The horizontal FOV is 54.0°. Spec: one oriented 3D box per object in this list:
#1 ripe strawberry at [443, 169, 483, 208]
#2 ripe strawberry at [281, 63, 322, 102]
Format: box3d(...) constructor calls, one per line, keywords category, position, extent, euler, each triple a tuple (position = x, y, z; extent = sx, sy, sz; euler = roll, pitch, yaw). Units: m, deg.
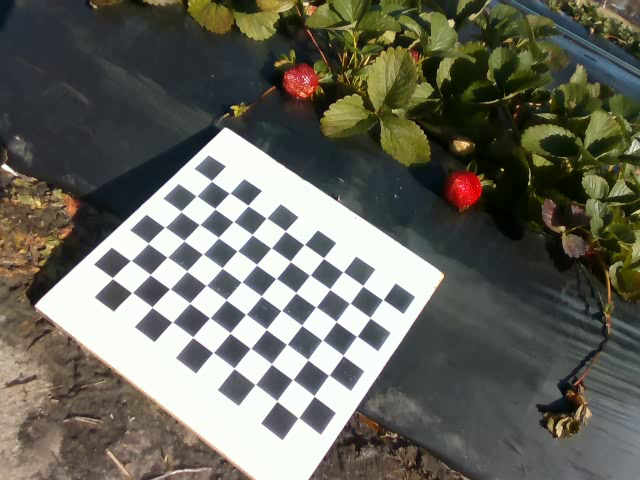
box3d(category="ripe strawberry", position=(0.138, -0.051, 0.617), extent=(0.043, 0.043, 0.050), euler=(-30, -22, 23))
box3d(category="ripe strawberry", position=(-0.025, -0.170, 0.665), extent=(0.043, 0.042, 0.053), euler=(-48, -13, 21))
